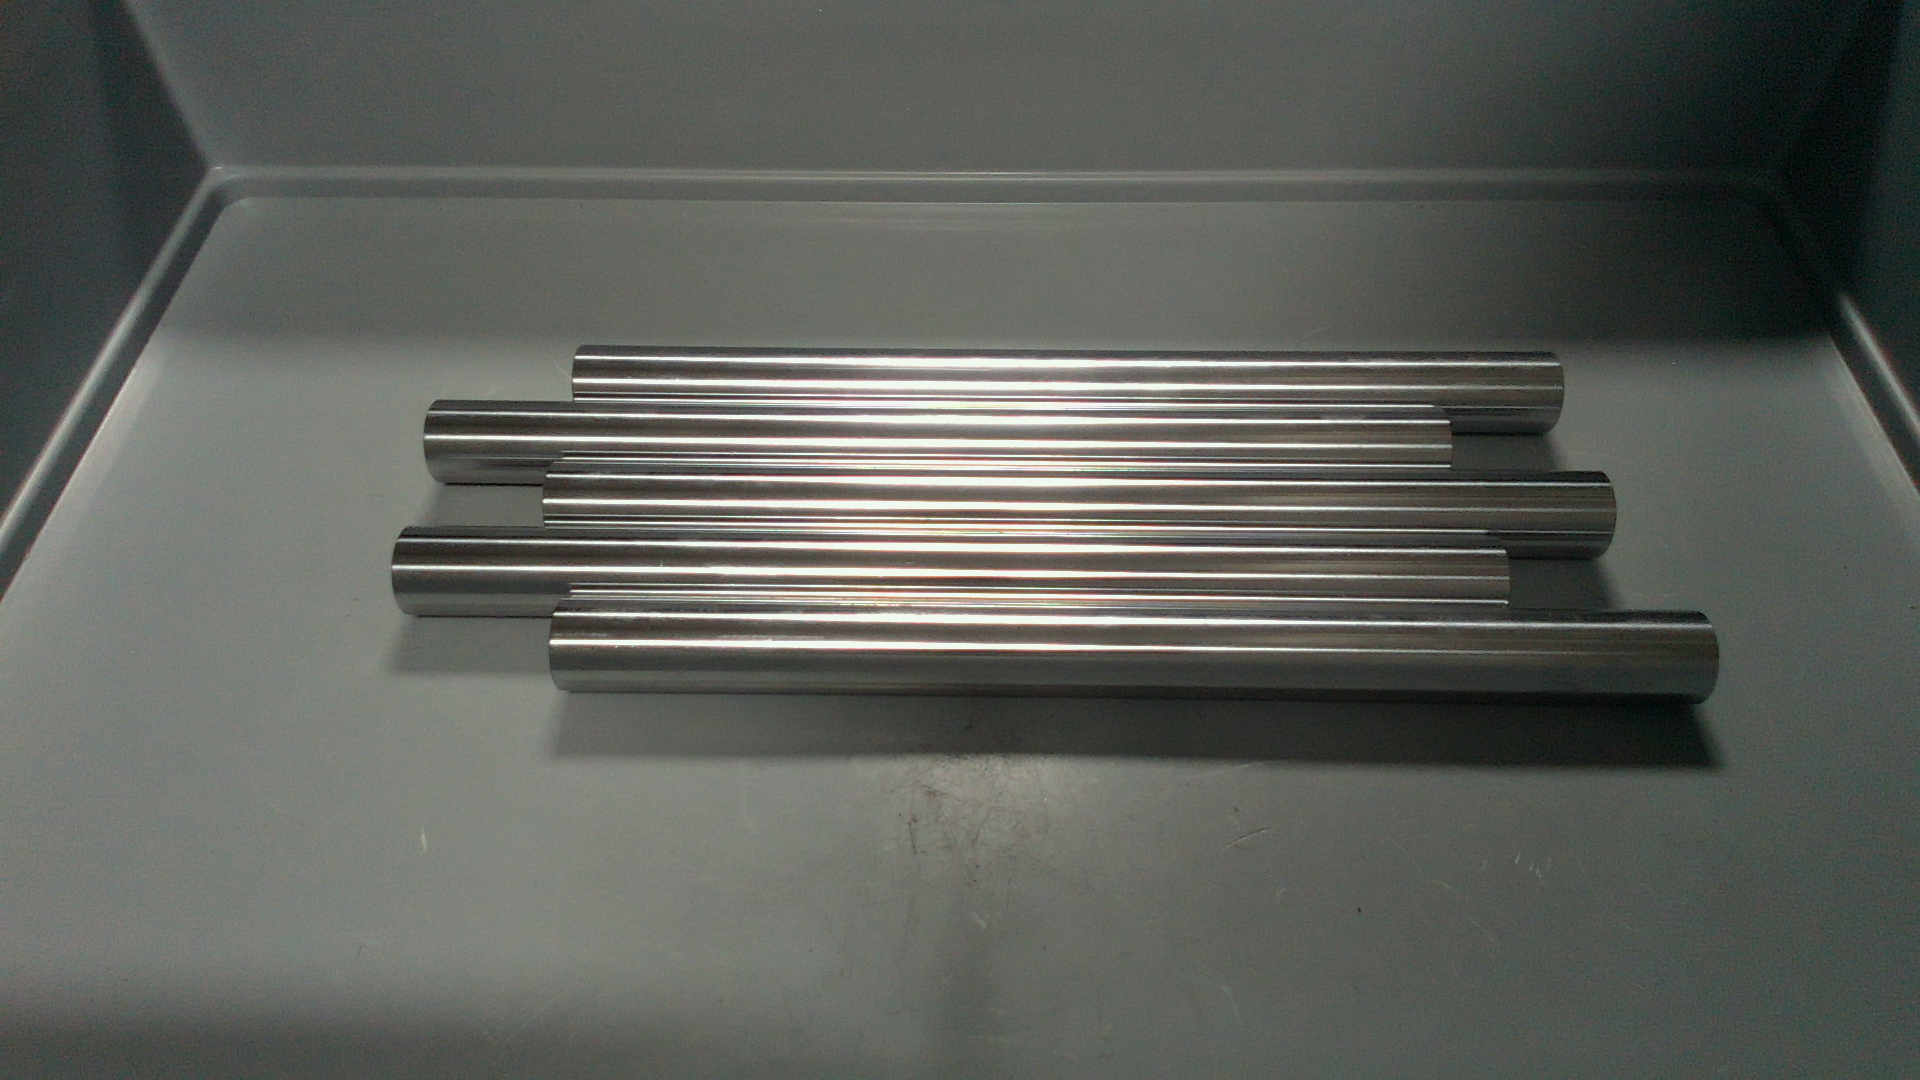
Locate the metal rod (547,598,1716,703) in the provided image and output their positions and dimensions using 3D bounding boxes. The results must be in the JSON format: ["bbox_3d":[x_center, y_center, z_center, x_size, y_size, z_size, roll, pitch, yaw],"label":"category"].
[{"bbox_3d":[0.044,0.029,0.366,0.300,0.025,0.025,1,50,0],"label":"metal rod"}]

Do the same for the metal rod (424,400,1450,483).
[{"bbox_3d":[-0.007,-0.028,0.414,0.300,0.025,0.025,1,50,0],"label":"metal rod"}]

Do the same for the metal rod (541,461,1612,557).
[{"bbox_3d":[0.032,-0.009,0.398,0.300,0.025,0.025,1,50,0],"label":"metal rod"}]

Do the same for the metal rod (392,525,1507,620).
[{"bbox_3d":[-0.003,0.010,0.382,0.300,0.025,0.025,1,50,0],"label":"metal rod"}]

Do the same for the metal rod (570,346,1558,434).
[{"bbox_3d":[0.031,-0.047,0.430,0.300,0.025,0.025,1,50,0],"label":"metal rod"}]
